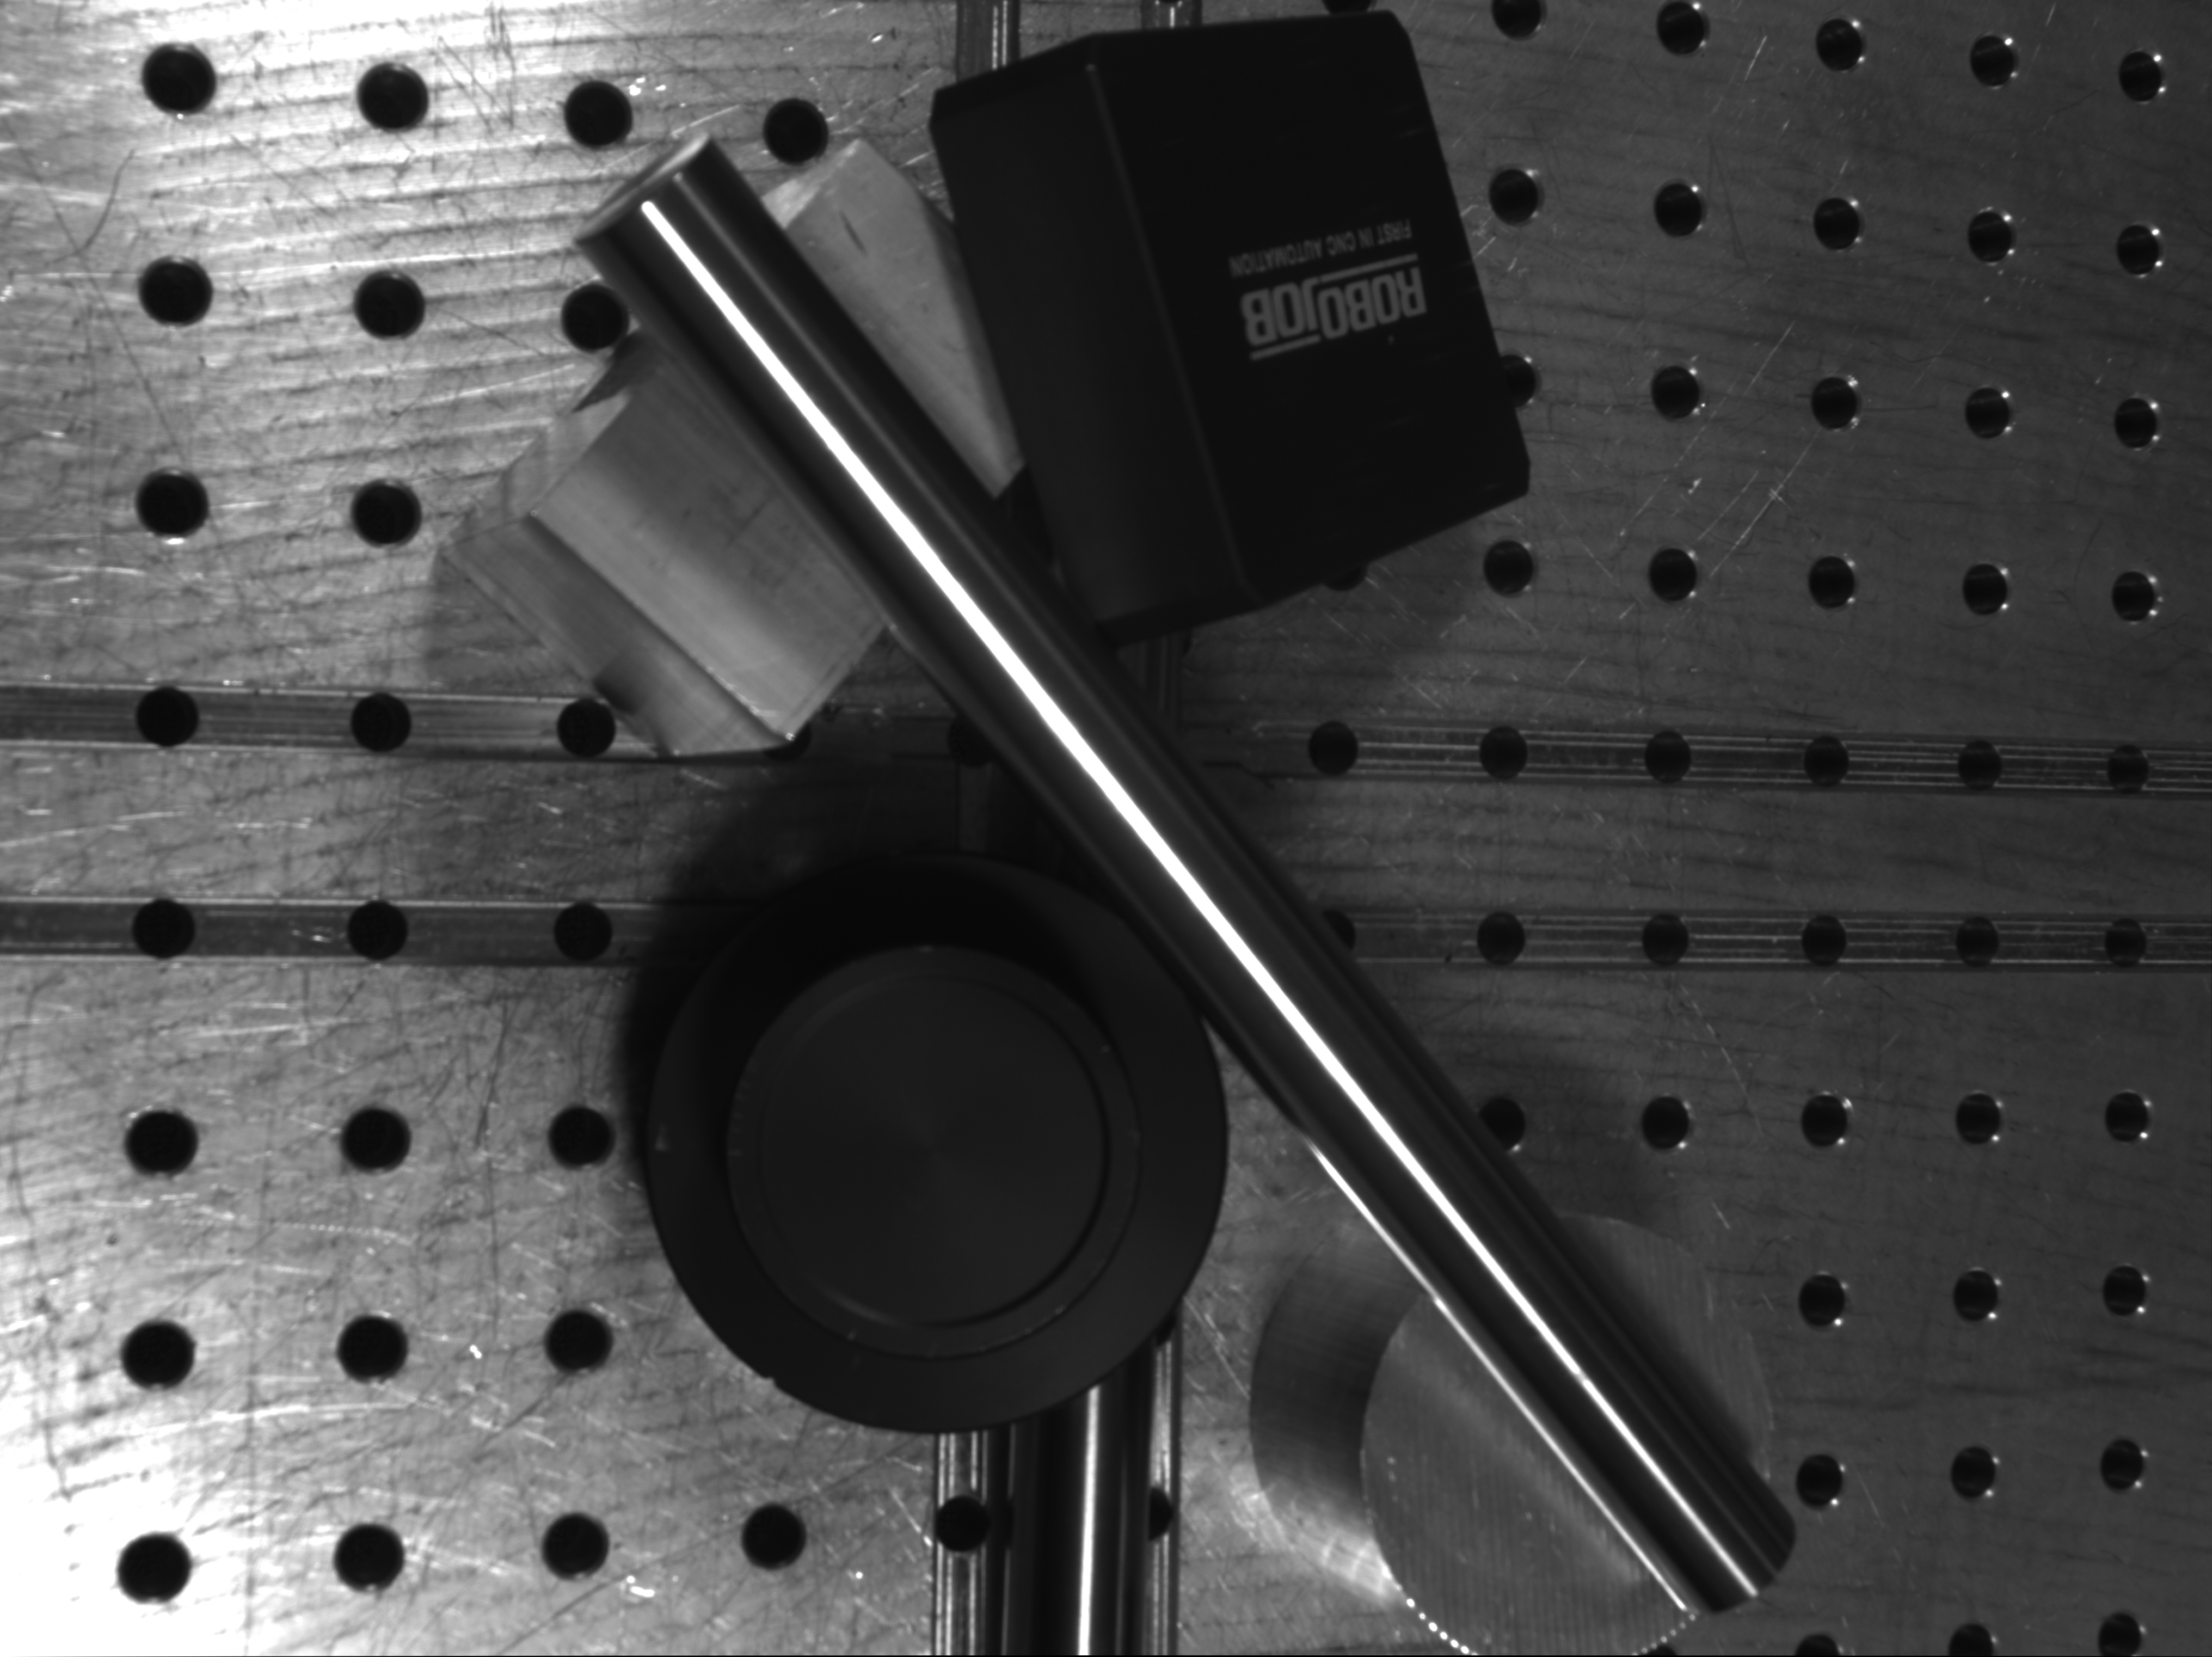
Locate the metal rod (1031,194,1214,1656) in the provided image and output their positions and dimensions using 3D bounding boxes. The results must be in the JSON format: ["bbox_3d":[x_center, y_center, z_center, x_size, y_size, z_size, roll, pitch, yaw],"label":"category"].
[{"bbox_3d":[0.004,0.024,0.647,0.025,0.025,0.300,3,89,-20],"label":"metal rod"}]

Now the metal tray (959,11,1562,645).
[{"bbox_3d":[0.030,-0.087,0.612,0.130,0.030,0.090,-26,101,-60],"label":"metal tray"}]

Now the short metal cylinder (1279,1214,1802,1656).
[{"bbox_3d":[0.078,0.108,0.661,0.080,0.050,0.080,0,90,-20],"label":"short metal cylinder"}]

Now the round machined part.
[{"bbox_3d":[-0.023,0.053,0.612,0.098,0.042,0.098,0,90,-3],"label":"round machined part"}]

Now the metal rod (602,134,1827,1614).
[{"bbox_3d":[0.026,0.017,0.580,0.025,0.025,0.300,-45,112,-14],"label":"metal rod"}]

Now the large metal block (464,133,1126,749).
[{"bbox_3d":[-0.053,-0.060,0.598,0.050,0.080,0.080,43,77,-15],"label":"large metal block"}]
